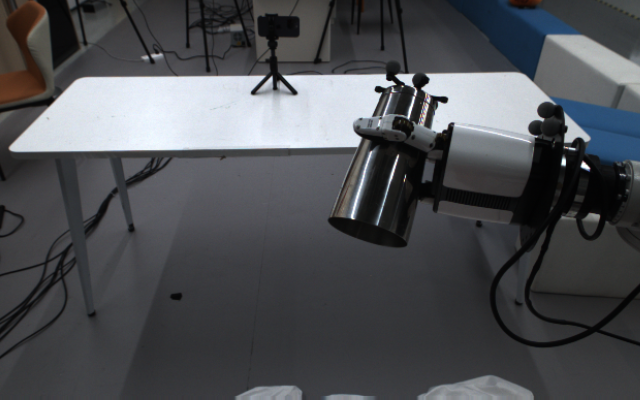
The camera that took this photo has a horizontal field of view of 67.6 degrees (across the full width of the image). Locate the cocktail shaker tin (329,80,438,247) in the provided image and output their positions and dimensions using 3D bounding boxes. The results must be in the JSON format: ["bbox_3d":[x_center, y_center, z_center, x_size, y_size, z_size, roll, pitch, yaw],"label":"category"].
[{"bbox_3d":[0.080,-0.041,0.553,0.093,0.093,0.170,15,75,17],"label":"cocktail shaker tin"}]
